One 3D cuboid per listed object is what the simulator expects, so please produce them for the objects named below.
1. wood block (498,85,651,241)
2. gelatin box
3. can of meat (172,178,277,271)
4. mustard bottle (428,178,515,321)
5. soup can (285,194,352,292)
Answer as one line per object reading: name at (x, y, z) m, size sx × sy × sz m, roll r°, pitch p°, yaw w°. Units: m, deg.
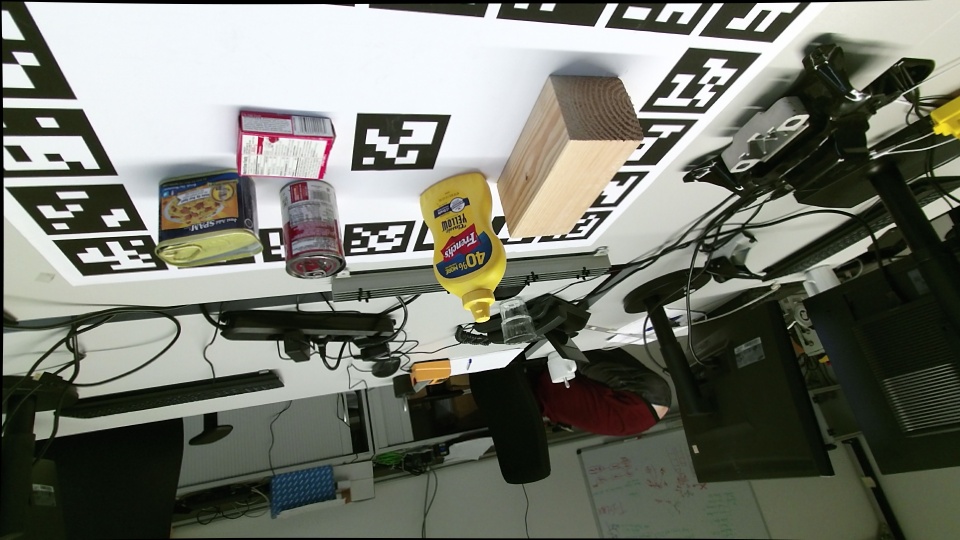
wood block at (0.104, -0.120, 0.663) m, size 0.091 × 0.089 × 0.206 m, roll -3°, pitch 158°, yaw -20°
gelatin box at (-0.195, -0.120, 0.562) m, size 0.090 × 0.030 × 0.073 m, roll -2°, pitch 152°, yaw -30°
can of meat at (-0.288, -0.052, 0.607) m, size 0.102 × 0.083 × 0.058 m, roll -9°, pitch 155°, yaw -6°
mustard bottle at (-0.006, -0.024, 0.700) m, size 0.096 × 0.190 × 0.058 m, roll -15°, pitch 157°, yaw 4°
soup can at (-0.198, -0.033, 0.652) m, size 0.068 × 0.101 × 0.068 m, roll -13°, pitch 155°, yaw -6°
